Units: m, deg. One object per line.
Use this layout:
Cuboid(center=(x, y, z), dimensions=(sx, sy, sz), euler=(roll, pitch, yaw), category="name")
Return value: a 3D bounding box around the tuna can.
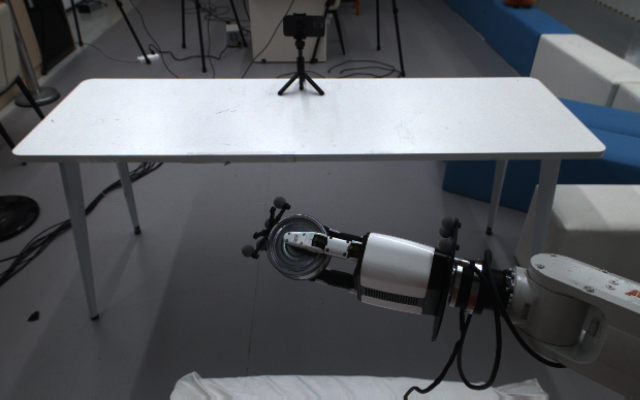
Cuboid(center=(-0.024, 0.067, 0.648), dimensions=(0.085, 0.034, 0.085), euler=(-2, 72, 5), category="tuna can")
